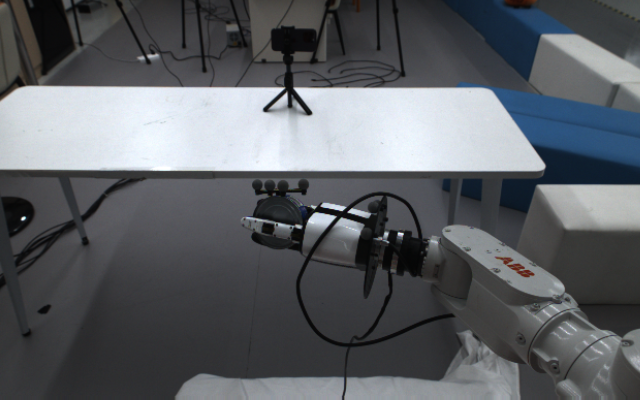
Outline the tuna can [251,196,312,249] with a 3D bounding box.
[{"bbox_3d":[-0.061,0.034,0.769,0.085,0.085,0.034,15,10,18],"label":"tuna can"}]
